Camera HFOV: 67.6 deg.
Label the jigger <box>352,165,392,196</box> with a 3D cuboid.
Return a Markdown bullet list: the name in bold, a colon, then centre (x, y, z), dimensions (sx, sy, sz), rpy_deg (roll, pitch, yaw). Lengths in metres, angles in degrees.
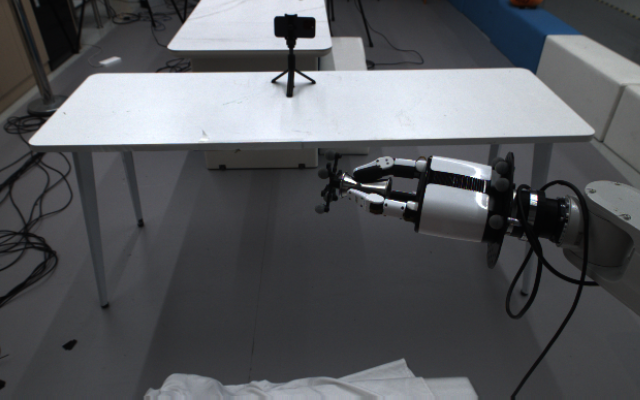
- **jigger**: centre (0.072, -0.019, 0.699), dimensions (0.071, 0.043, 0.043), rpy_deg (11, 36, 16)
